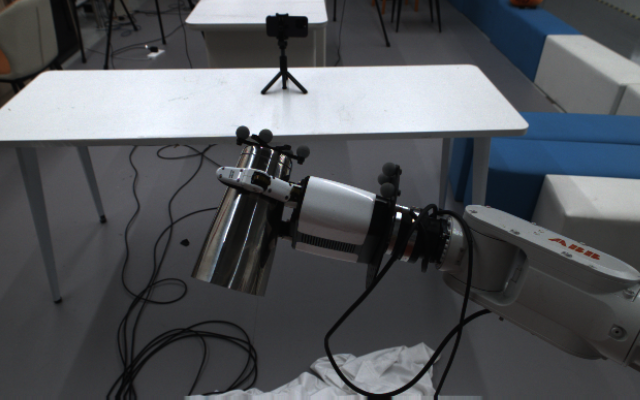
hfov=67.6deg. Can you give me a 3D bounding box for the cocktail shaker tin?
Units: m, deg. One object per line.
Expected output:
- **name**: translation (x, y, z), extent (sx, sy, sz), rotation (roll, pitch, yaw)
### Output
- **cocktail shaker tin**: translation (-0.085, 0.022, 0.597), extent (0.093, 0.093, 0.170), rotation (13, 79, 15)
